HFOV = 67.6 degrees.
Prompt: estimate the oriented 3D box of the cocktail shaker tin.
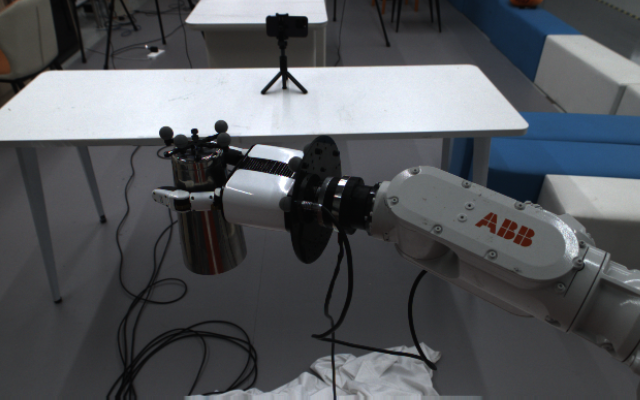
[{"bbox_3d":[-0.152,0.006,0.663,0.093,0.170,0.093,-1,33,1],"label":"cocktail shaker tin"}]
